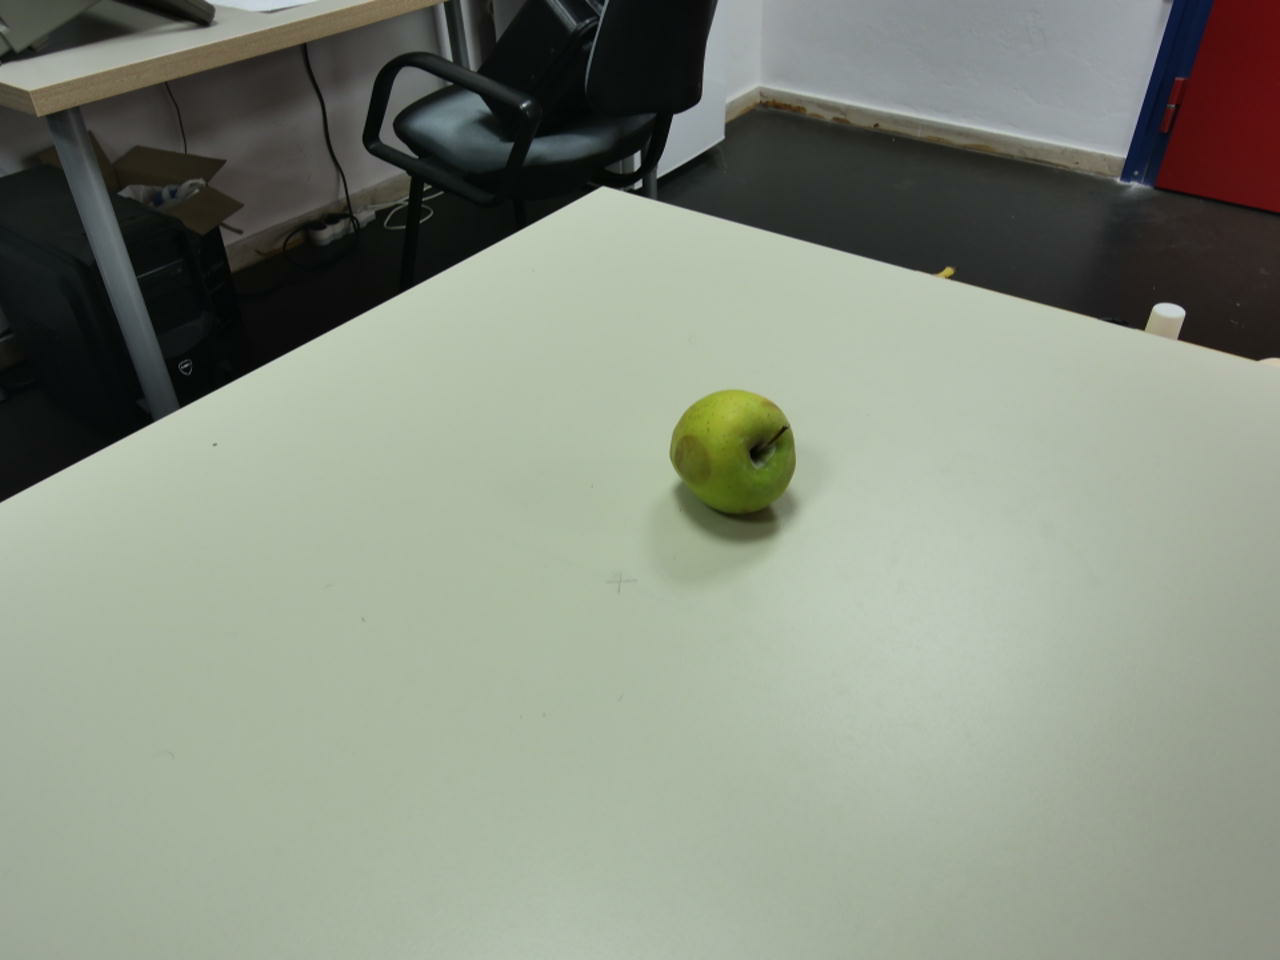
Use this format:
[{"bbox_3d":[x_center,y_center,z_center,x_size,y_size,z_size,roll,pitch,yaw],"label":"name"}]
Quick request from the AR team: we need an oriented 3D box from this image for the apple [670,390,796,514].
[{"bbox_3d":[0.056,-0.019,0.600,0.072,0.075,0.077,-5,38,-7],"label":"apple"}]
